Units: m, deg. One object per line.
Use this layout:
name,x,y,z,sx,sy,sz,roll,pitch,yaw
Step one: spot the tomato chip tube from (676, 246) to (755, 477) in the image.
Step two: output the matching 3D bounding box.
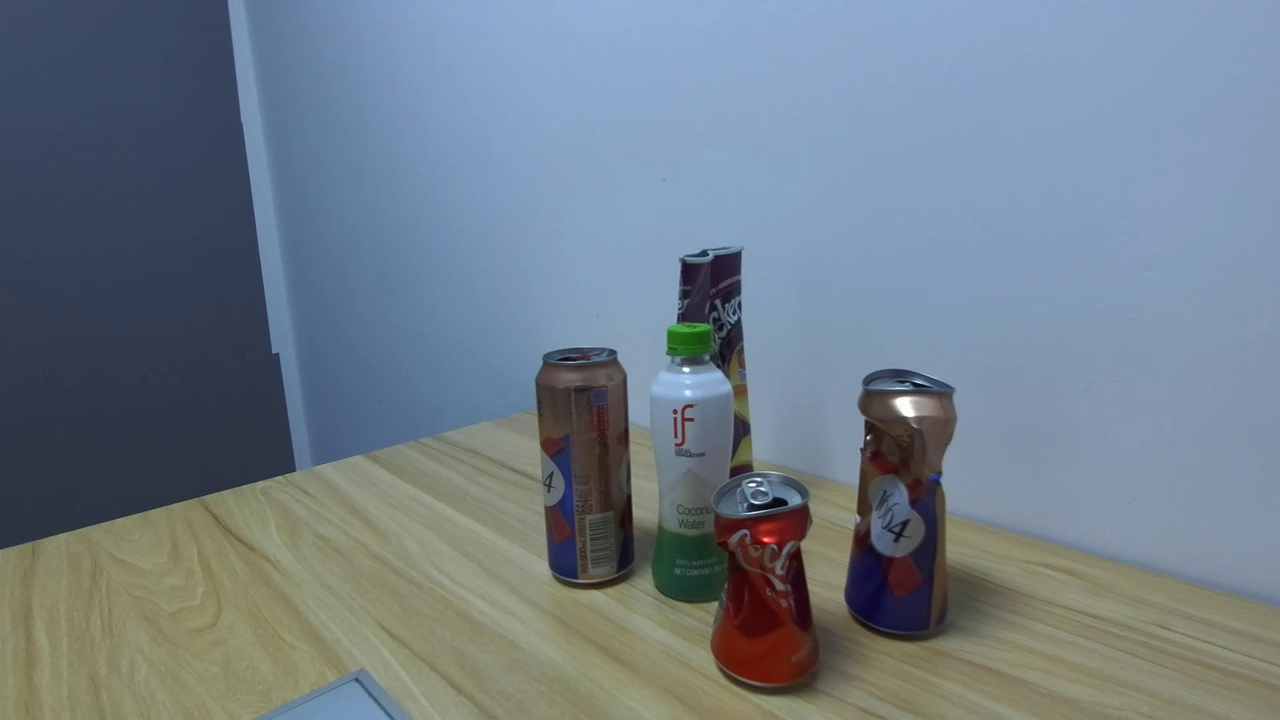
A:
tomato chip tube,0.059,0.028,0.586,0.090,0.235,0.077,-4,14,-18

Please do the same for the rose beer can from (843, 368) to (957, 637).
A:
rose beer can,0.165,0.090,0.448,0.068,0.162,0.073,-11,17,-38

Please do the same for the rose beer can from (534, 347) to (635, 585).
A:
rose beer can,-0.039,0.080,0.526,0.068,0.169,0.068,-2,12,1

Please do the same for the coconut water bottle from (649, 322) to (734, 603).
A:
coconut water bottle,0.037,0.070,0.495,0.063,0.188,0.063,-2,11,1
